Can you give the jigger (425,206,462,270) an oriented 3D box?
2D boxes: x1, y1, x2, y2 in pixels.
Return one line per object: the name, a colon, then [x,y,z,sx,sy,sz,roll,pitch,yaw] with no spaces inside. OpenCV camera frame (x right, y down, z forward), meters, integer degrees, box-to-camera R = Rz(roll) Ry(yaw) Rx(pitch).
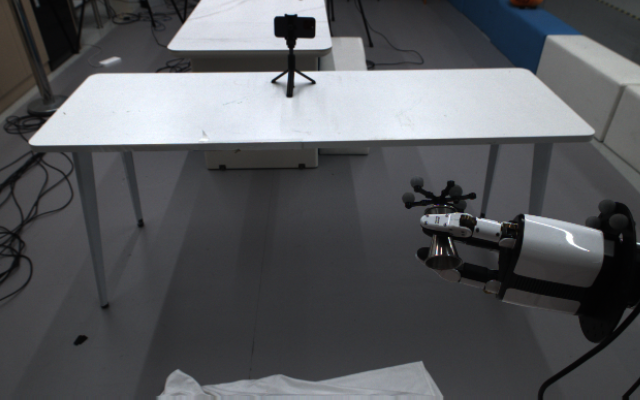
jigger: [0.146,0.042,0.585,0.043,0.043,0.071,4,60,3]
